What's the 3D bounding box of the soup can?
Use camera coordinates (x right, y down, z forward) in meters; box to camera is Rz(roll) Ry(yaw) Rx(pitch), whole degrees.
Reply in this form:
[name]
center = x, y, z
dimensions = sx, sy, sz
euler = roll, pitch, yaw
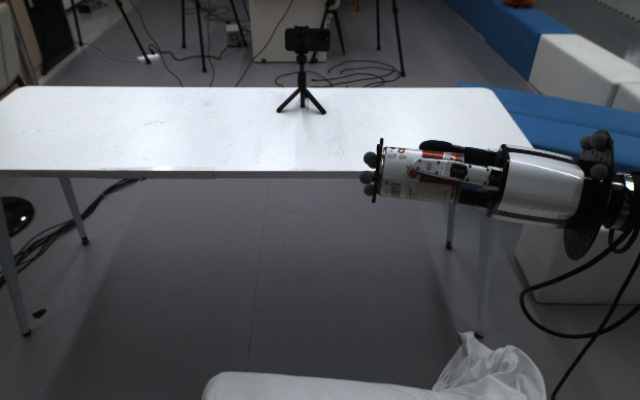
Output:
[soup can]
center = 0.133, -0.034, 0.632
dimensions = 0.101, 0.067, 0.067
euler = 6, 35, 10
